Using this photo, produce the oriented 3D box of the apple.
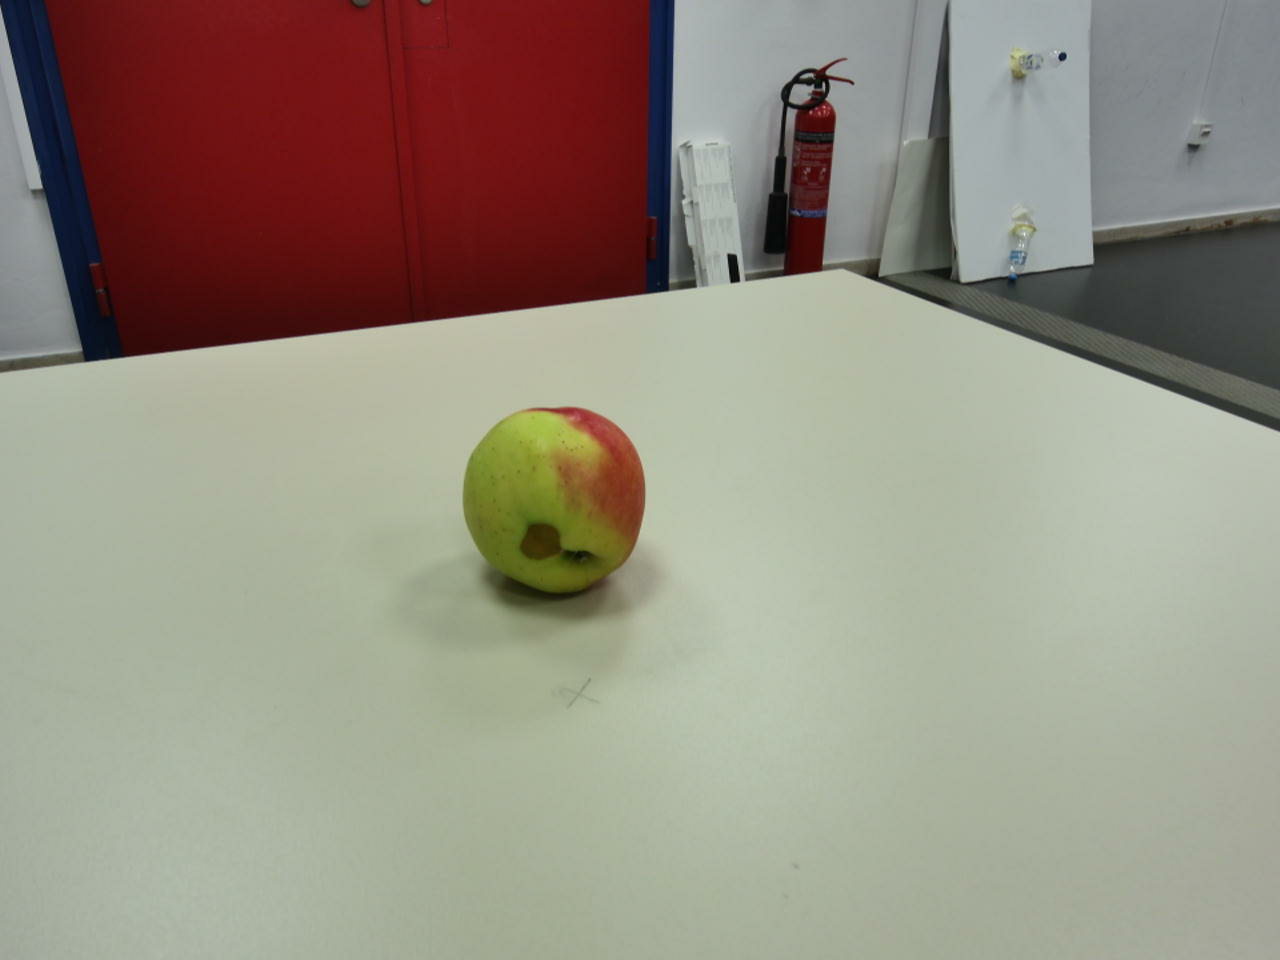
[{"bbox_3d":[-0.033,0.007,0.408,0.075,0.074,0.075,22,32,39],"label":"apple"}]
